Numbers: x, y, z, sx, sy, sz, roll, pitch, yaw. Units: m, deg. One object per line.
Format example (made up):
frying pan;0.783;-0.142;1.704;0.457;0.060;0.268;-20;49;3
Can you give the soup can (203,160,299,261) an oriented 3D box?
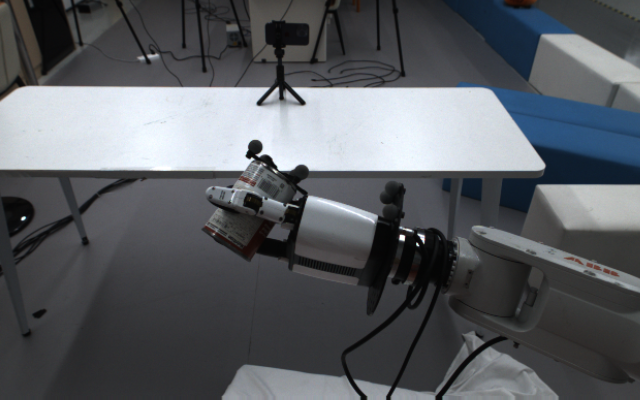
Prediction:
soup can;-0.080;0.013;0.572;0.067;0.067;0.101;26;76;30
